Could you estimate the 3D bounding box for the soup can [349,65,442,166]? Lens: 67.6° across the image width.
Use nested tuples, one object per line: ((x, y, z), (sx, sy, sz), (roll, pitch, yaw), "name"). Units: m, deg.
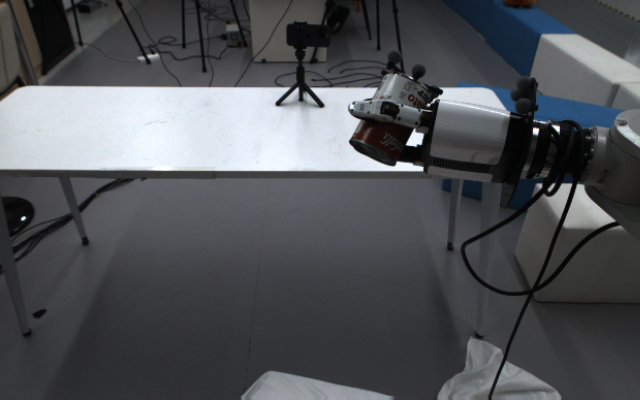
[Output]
((0.091, -0.104, 0.621), (0.067, 0.101, 0.067), (29, -2, 1), "soup can")
